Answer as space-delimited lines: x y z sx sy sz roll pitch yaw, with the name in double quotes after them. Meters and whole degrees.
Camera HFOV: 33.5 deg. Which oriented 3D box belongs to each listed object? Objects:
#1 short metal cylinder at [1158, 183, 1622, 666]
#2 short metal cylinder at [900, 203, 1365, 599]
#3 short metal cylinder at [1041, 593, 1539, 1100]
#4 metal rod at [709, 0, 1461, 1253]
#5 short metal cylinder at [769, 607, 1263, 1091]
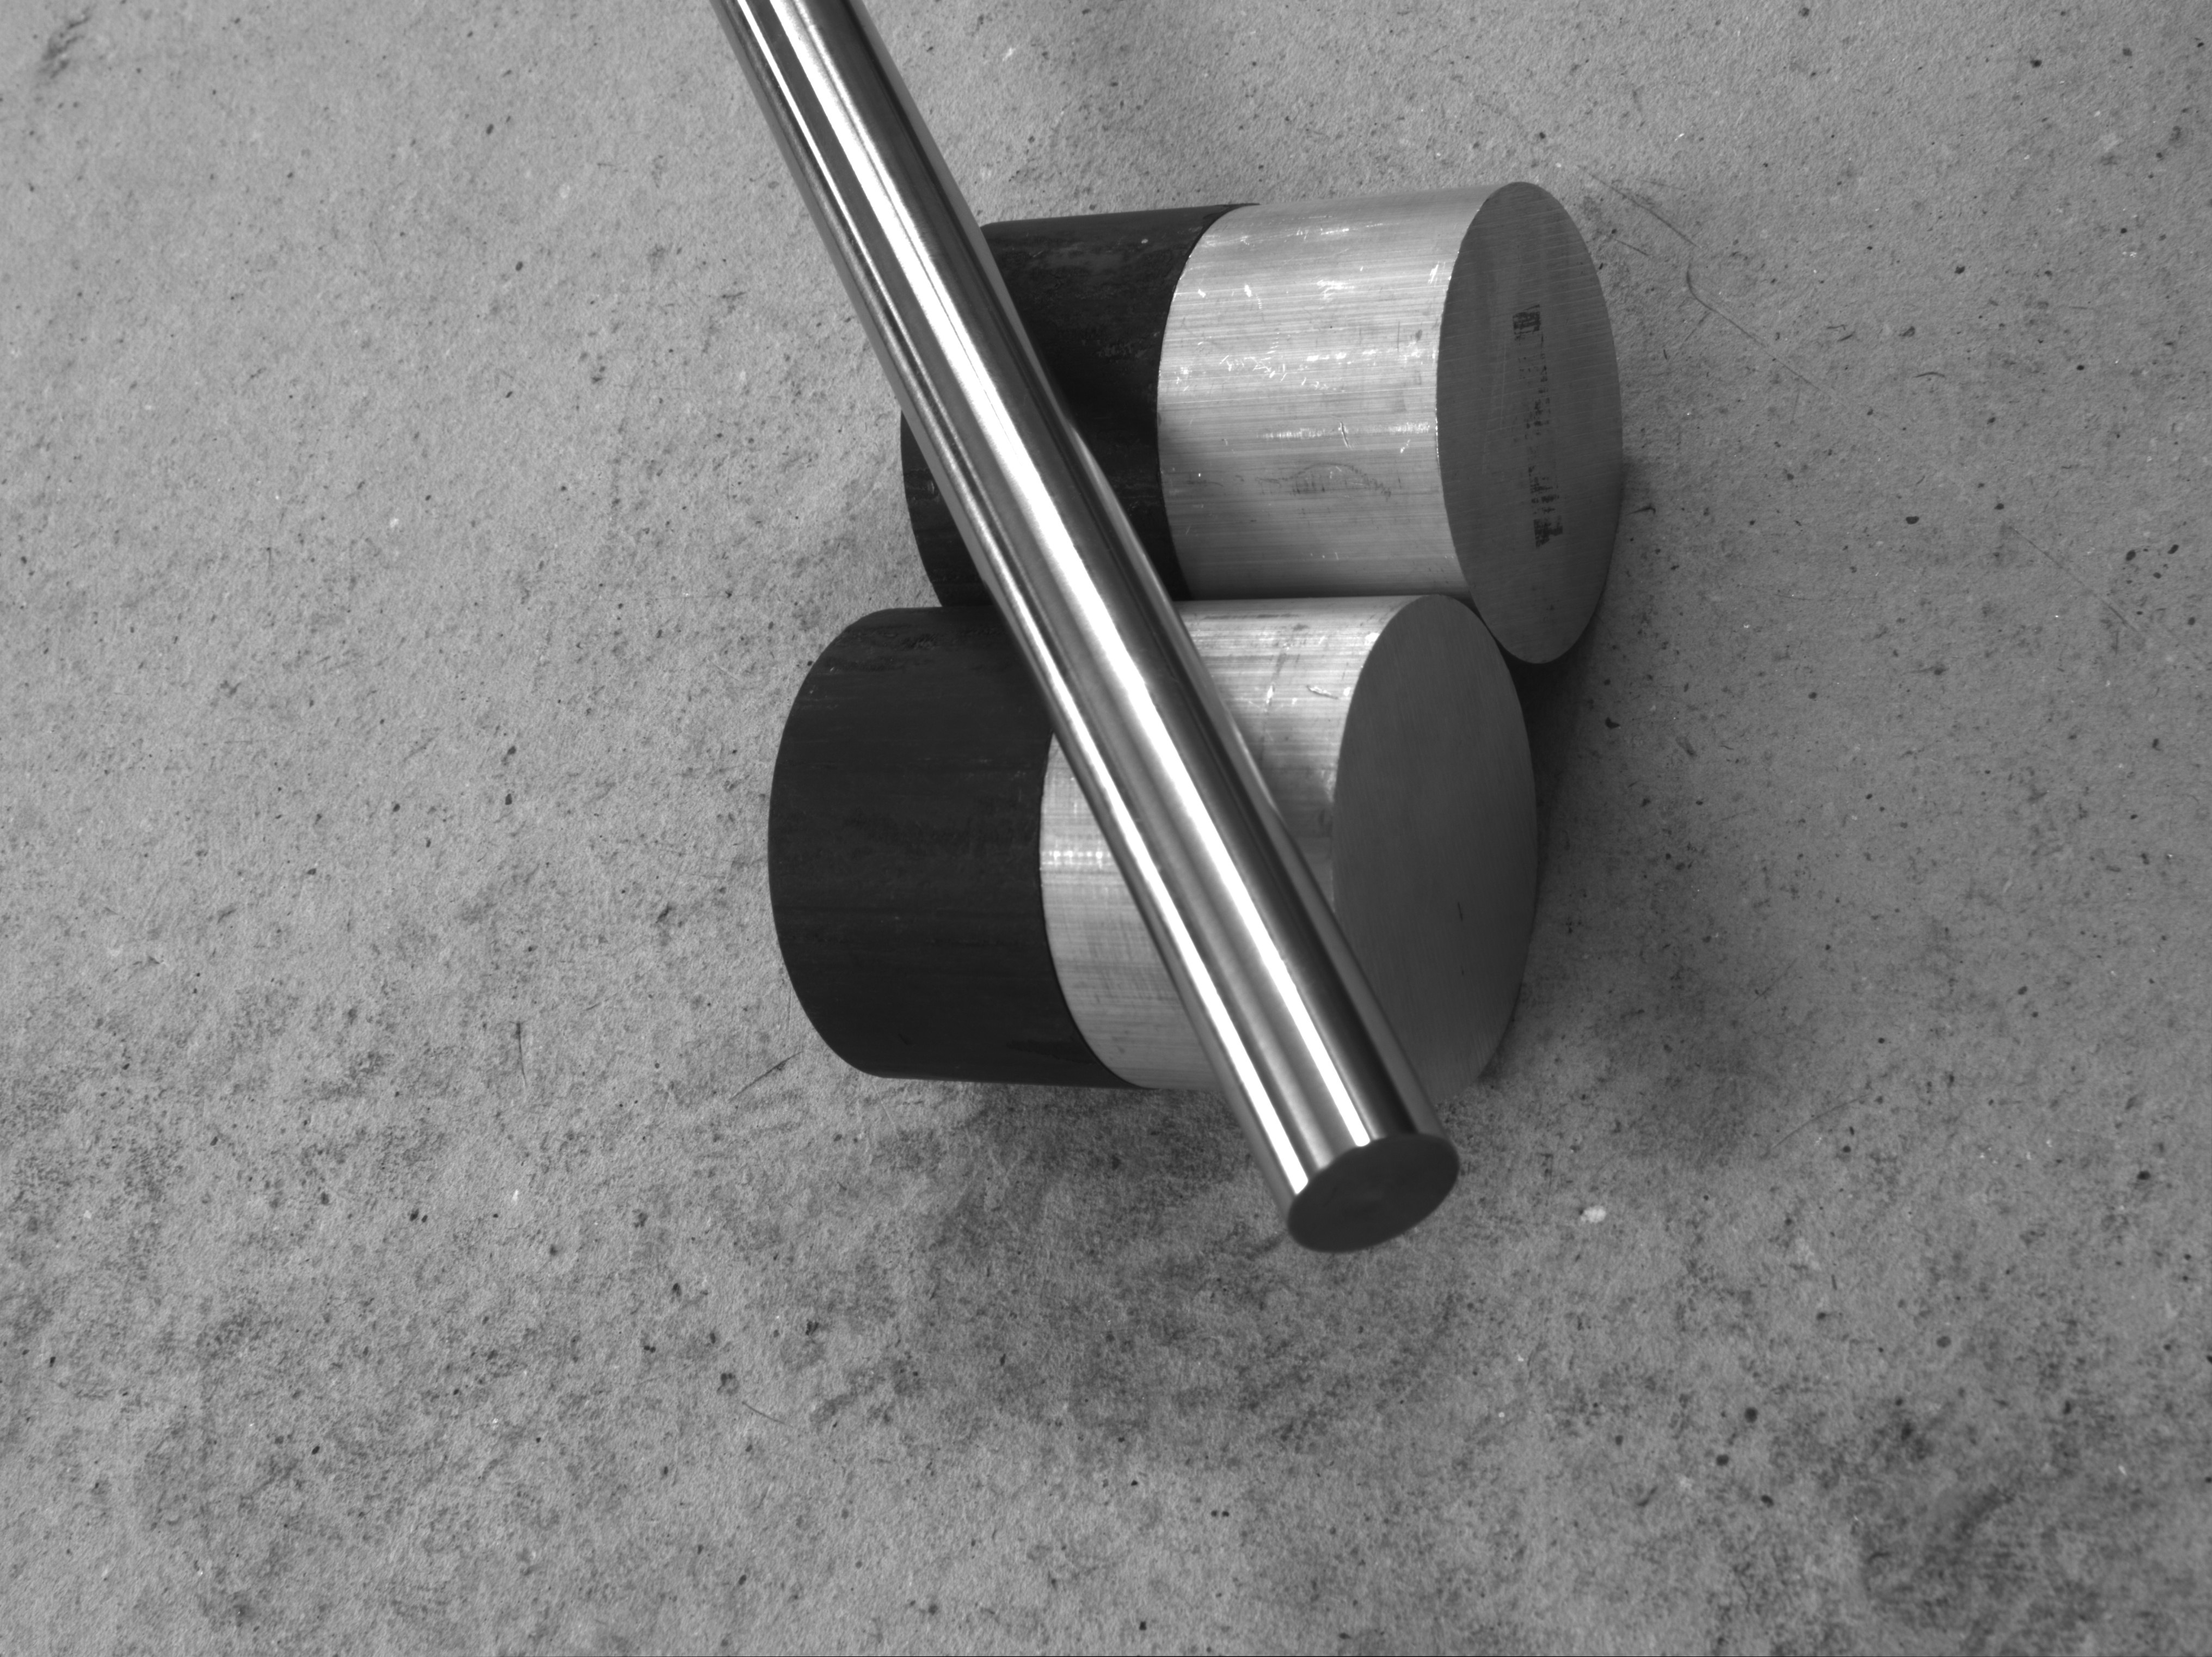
0.050 -0.068 0.625 0.050 0.080 0.080 1 62 29 "short metal cylinder"
0.006 -0.068 0.649 0.050 0.080 0.080 1 62 29 "short metal cylinder"
0.031 0.003 0.592 0.050 0.080 0.080 1 62 29 "short metal cylinder"
-0.014 -0.057 0.585 0.025 0.025 0.299 -32 51 8 "metal rod"
-0.013 0.003 0.616 0.050 0.080 0.080 1 62 29 "short metal cylinder"
